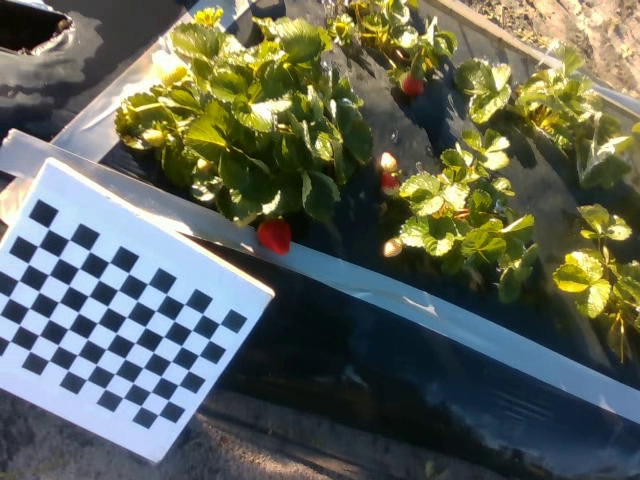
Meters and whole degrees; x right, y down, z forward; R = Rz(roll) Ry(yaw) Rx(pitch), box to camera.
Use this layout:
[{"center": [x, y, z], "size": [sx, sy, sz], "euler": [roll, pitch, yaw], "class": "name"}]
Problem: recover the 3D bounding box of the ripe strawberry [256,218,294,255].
[{"center": [-0.054, -0.004, 0.791], "size": [0.045, 0.064, 0.049], "euler": [-31, -43, 2], "class": "ripe strawberry"}]
